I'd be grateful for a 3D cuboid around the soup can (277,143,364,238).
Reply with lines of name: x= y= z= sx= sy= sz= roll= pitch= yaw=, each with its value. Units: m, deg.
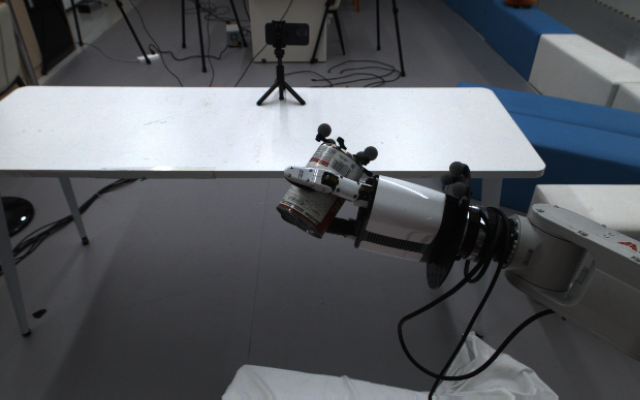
soup can: x=0.001 y=-0.014 z=0.607 sx=0.067 sy=0.067 sz=0.101 roll=27 pitch=76 yaw=31
